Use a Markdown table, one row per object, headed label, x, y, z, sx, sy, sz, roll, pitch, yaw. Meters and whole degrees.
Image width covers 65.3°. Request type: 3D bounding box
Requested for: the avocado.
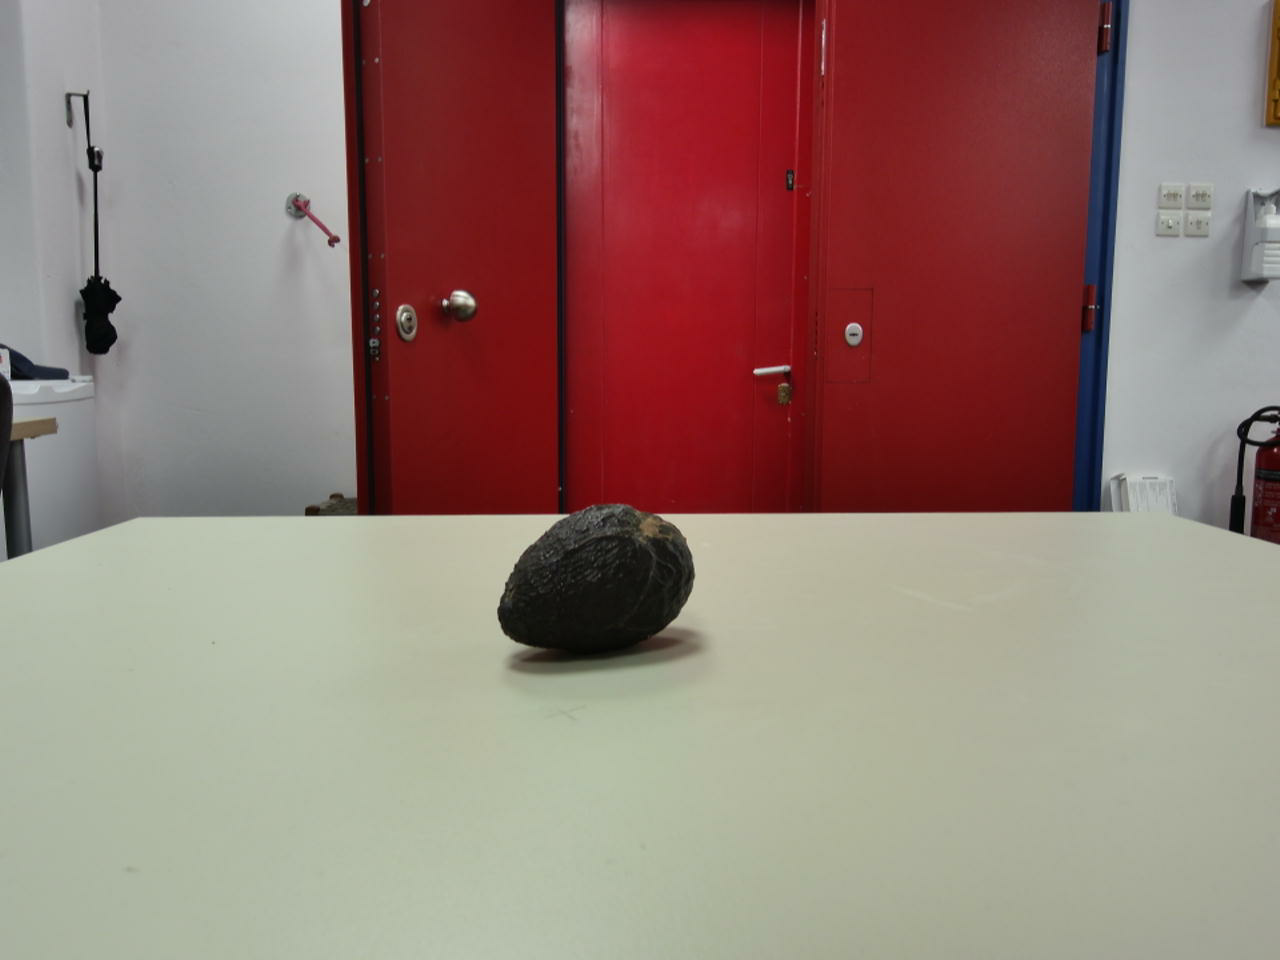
| label | x | y | z | sx | sy | sz | roll | pitch | yaw |
| --- | --- | --- | --- | --- | --- | --- | --- | --- | --- |
| avocado | -0.019 | 0.042 | 0.432 | 0.092 | 0.062 | 0.062 | -2 | 5 | -24 |
